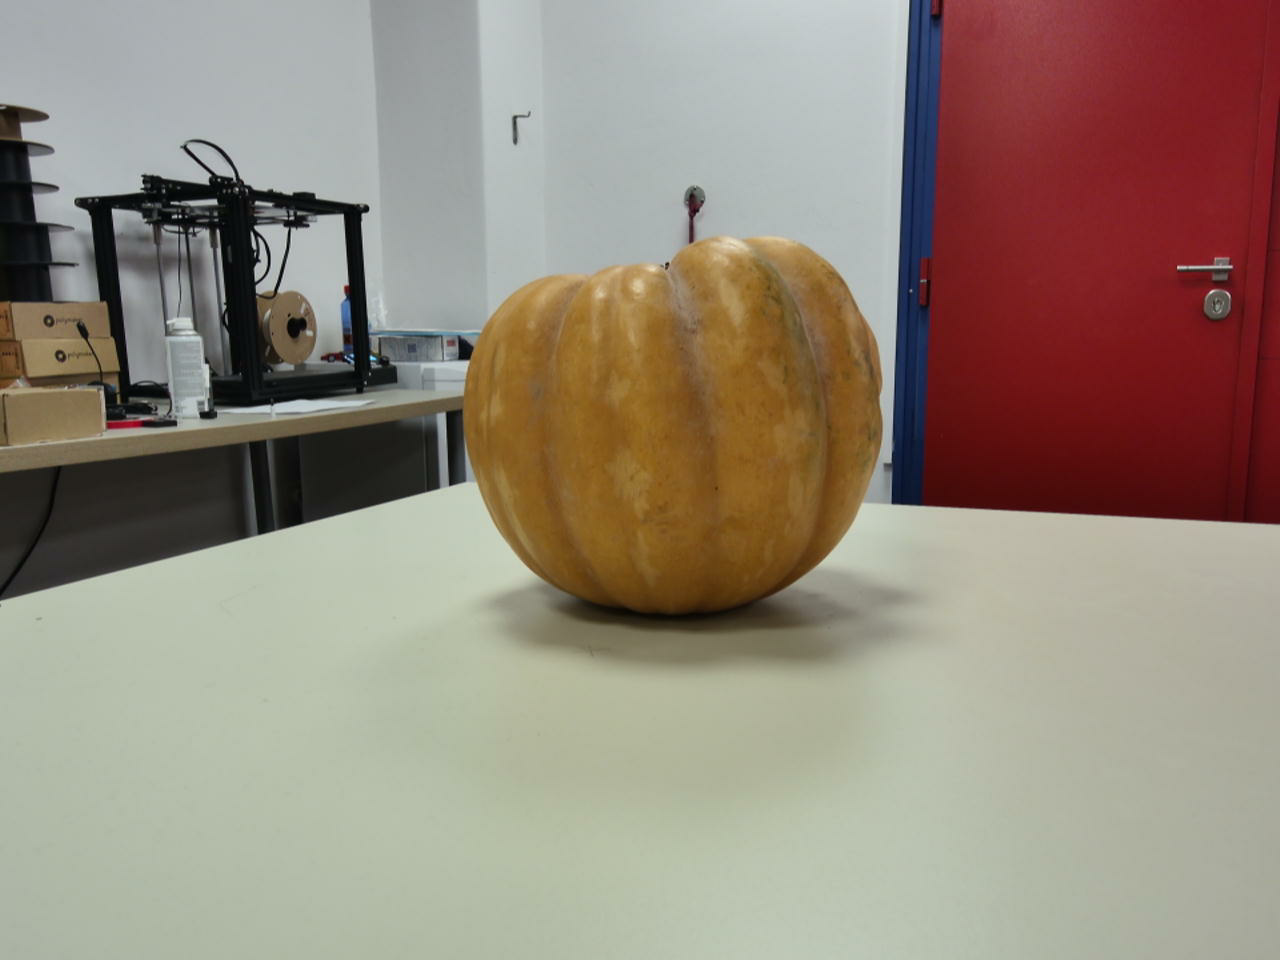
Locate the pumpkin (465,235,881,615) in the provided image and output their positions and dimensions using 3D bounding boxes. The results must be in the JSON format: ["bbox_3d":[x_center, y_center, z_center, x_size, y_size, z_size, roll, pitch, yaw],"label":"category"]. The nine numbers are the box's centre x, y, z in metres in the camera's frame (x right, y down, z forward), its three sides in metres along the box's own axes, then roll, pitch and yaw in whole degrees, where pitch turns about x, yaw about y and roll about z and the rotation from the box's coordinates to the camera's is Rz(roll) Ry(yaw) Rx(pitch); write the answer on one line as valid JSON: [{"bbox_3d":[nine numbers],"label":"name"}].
[{"bbox_3d":[0.020,-0.029,0.541,0.230,0.194,0.230,1,6,0],"label":"pumpkin"}]
